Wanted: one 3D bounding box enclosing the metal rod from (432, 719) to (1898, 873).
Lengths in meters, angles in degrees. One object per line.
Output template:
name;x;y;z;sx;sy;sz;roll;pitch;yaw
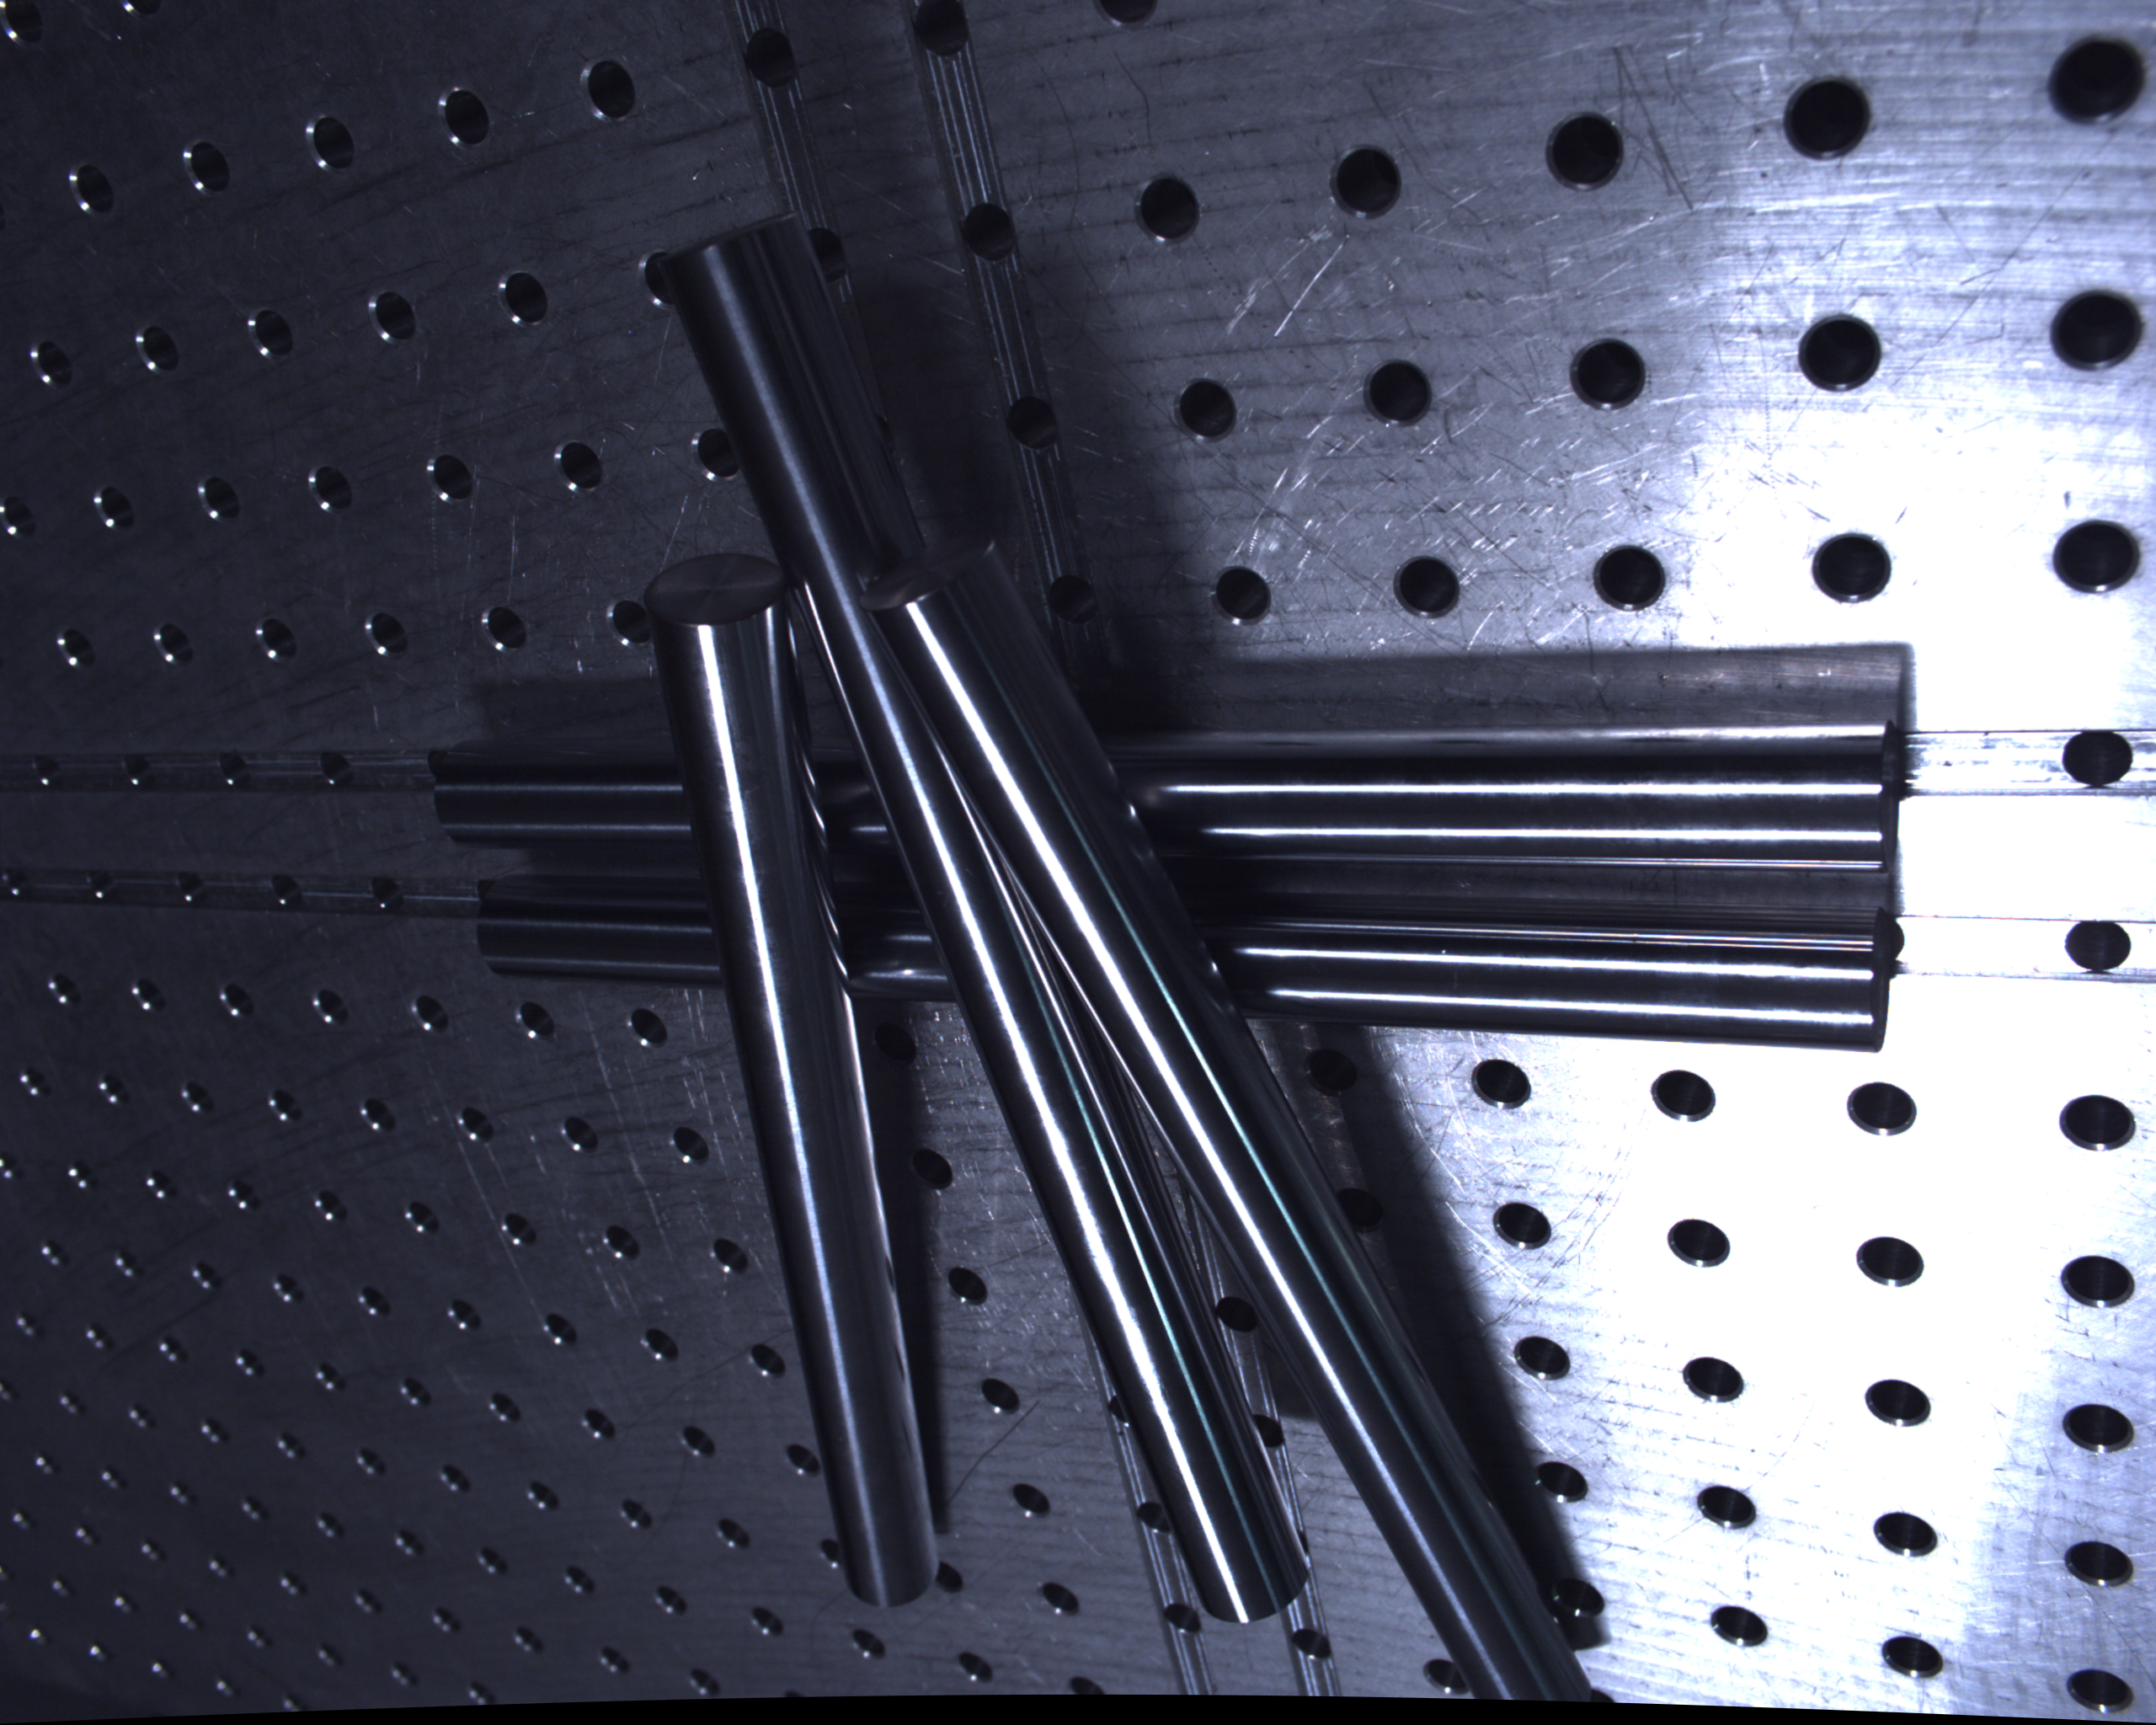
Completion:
metal rod;-0.003;-0.013;0.404;0.301;0.025;0.025;1;119;27

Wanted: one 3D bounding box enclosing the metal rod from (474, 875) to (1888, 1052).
metal rod;0.001;0.017;0.420;0.301;0.025;0.025;1;119;27

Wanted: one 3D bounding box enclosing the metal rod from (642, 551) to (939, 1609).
metal rod;-0.056;0.069;0.458;0.025;0.025;0.298;13;131;20

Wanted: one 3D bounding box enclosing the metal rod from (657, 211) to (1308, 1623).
metal rod;-0.010;0.027;0.400;0.025;0.025;0.298;-6;116;31

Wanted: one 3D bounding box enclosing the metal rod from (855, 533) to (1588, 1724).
metal rod;0.039;0.071;0.409;0.025;0.025;0.299;-11;120;32
